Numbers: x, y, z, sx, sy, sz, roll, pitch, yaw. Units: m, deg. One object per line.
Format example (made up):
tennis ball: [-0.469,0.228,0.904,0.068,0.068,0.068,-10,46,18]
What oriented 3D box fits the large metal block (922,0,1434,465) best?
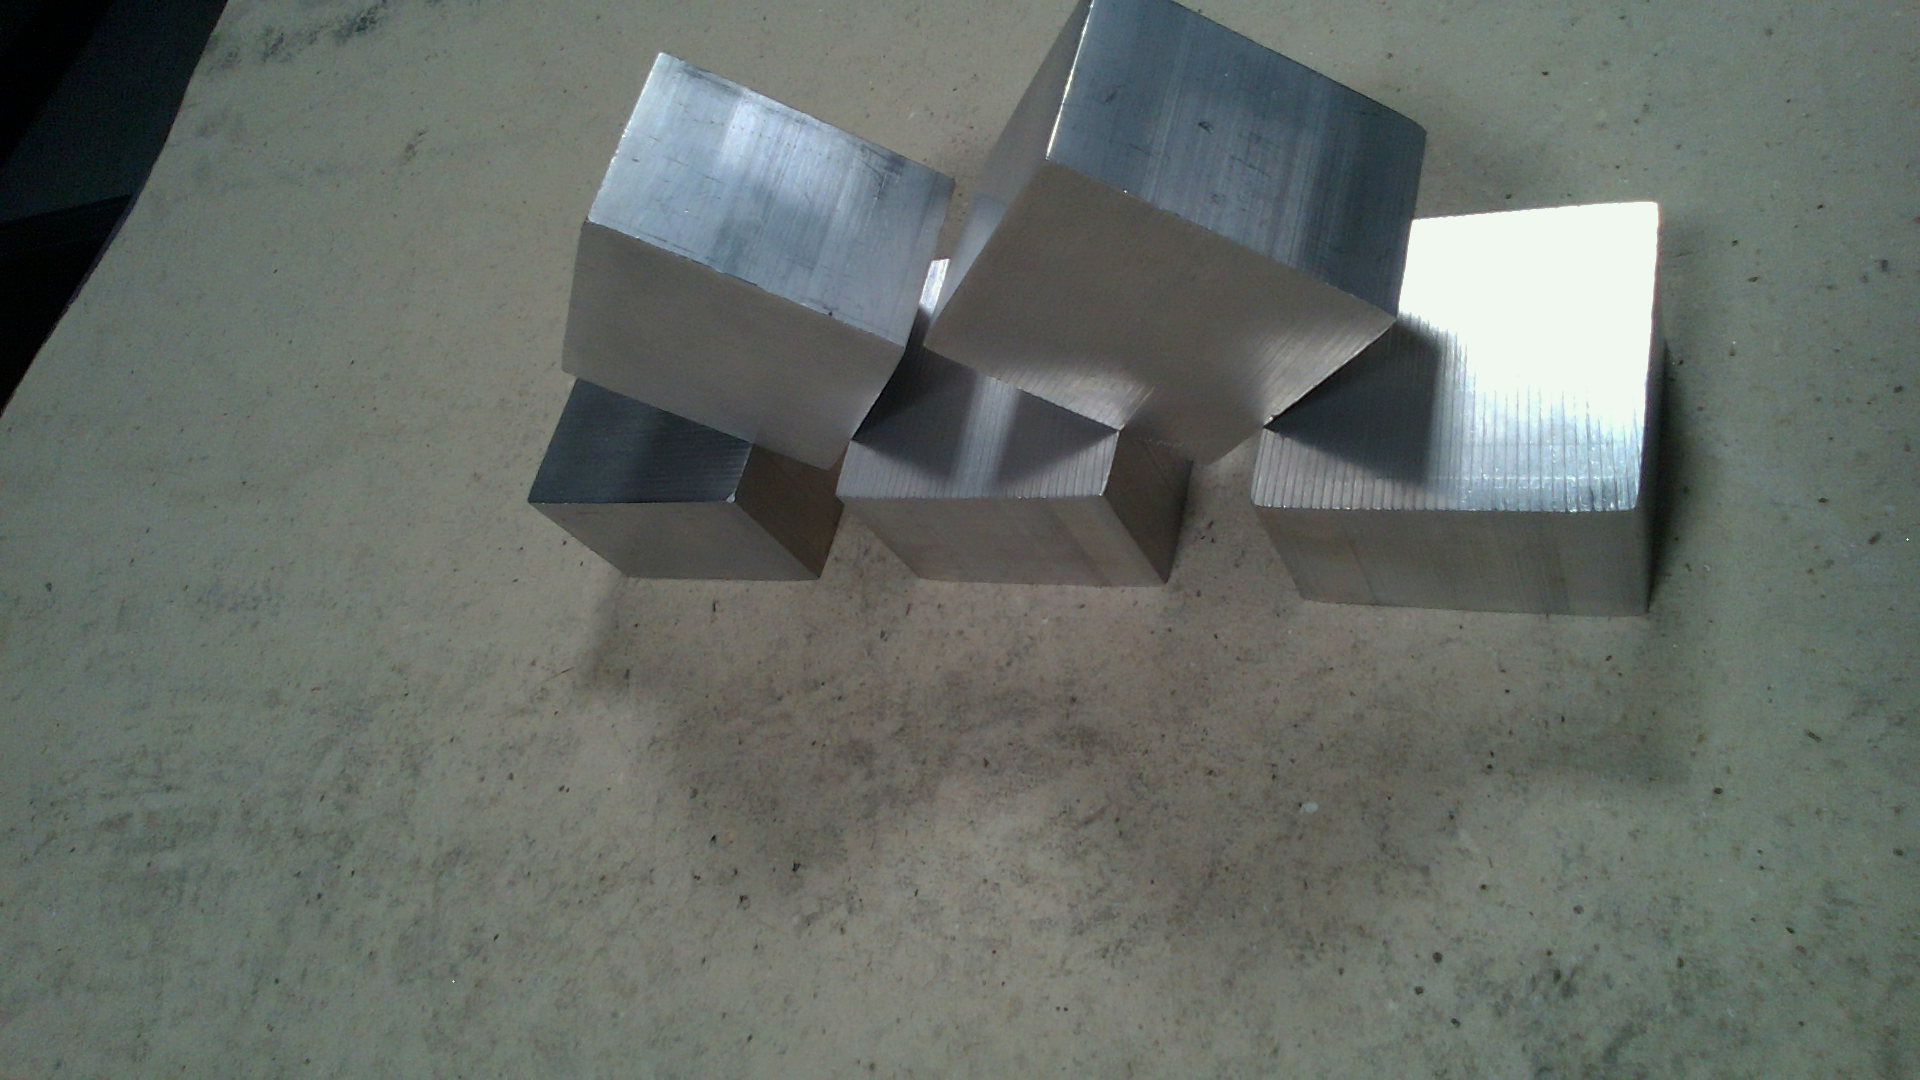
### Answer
large metal block: [0.047,-0.068,0.313,0.080,0.080,0.050,135,154,-62]

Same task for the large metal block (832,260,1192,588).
large metal block: [0.021,-0.034,0.388,0.080,0.050,0.080,1,62,29]

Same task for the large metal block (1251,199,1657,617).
large metal block: [0.122,-0.030,0.331,0.080,0.050,0.080,1,62,29]

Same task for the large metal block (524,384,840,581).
large metal block: [-0.080,-0.034,0.443,0.080,0.050,0.080,0,62,29]

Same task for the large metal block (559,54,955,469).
large metal block: [-0.057,-0.069,0.367,0.080,0.080,0.050,19,65,-12]
